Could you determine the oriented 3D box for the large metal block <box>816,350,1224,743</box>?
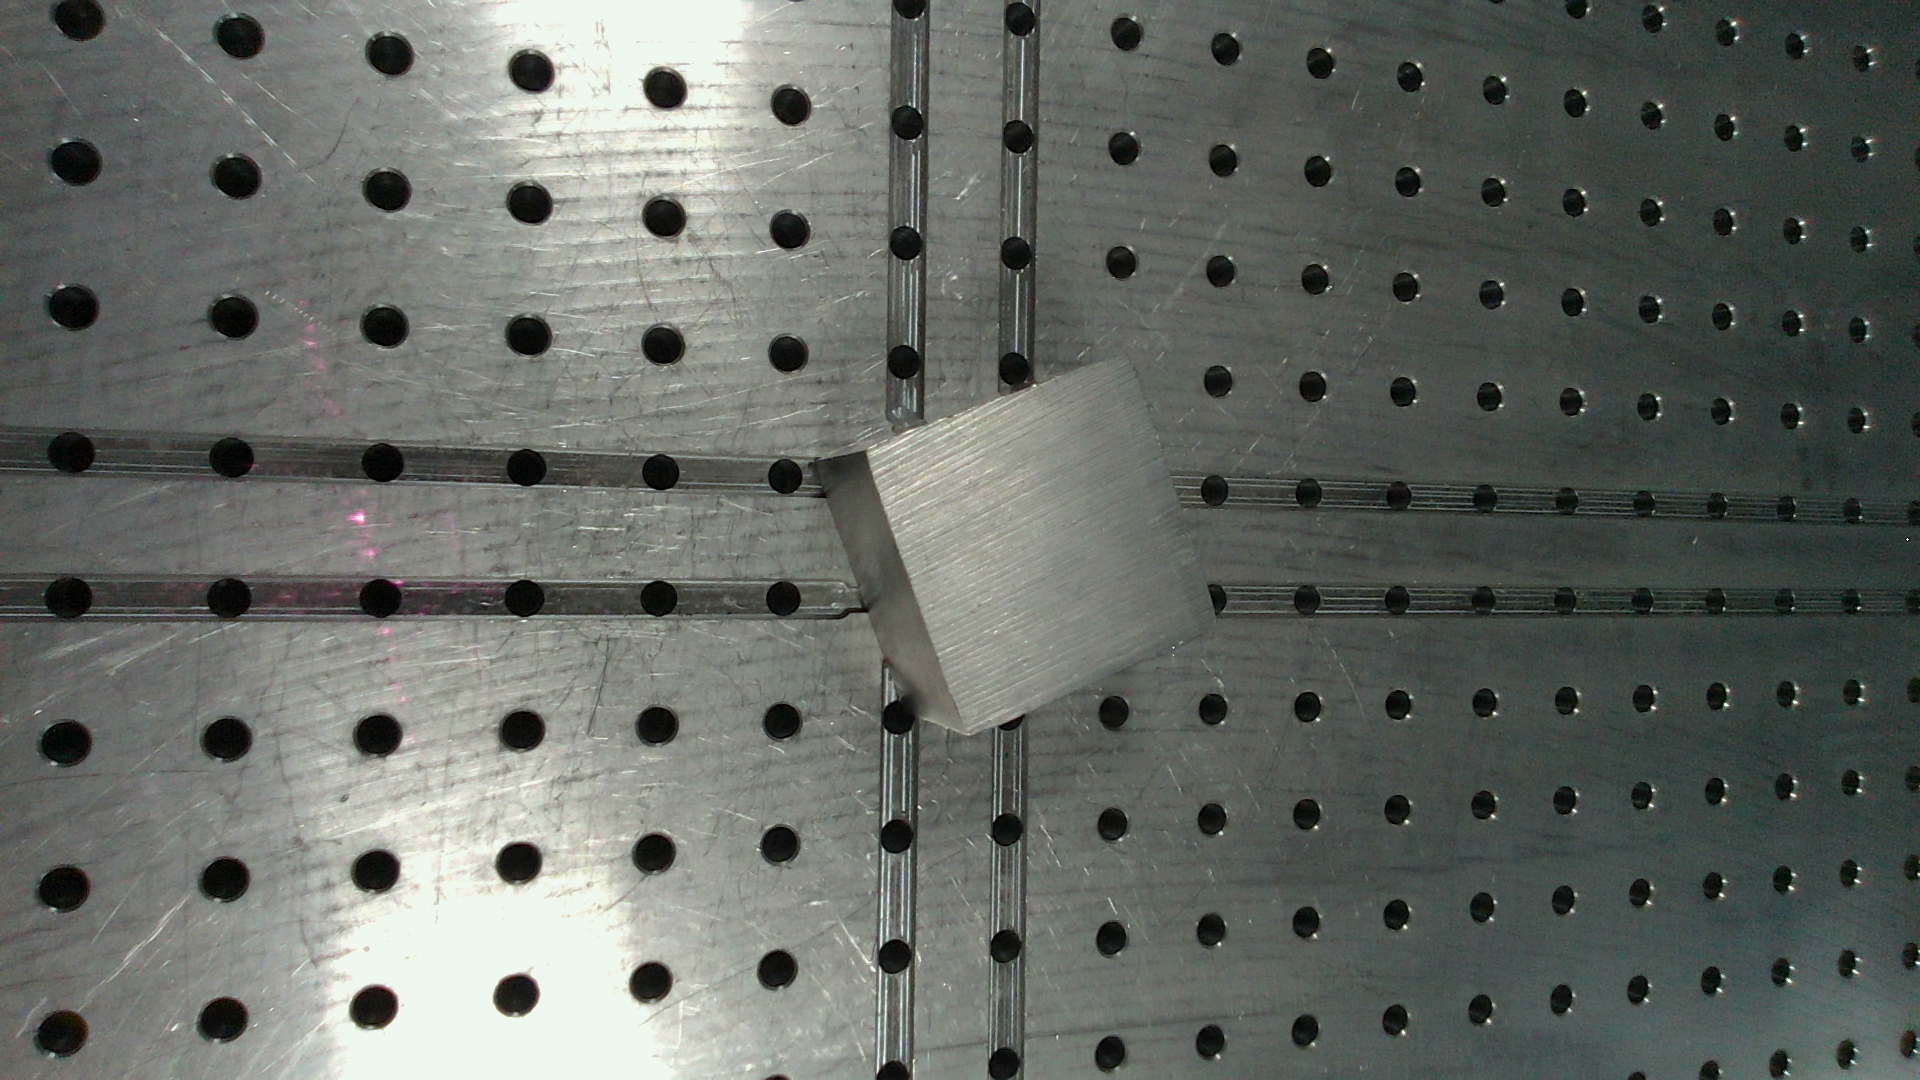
[{"bbox_3d":[0.016,0.001,0.386,0.080,0.050,0.080,-22,97,-19],"label":"large metal block"}]
